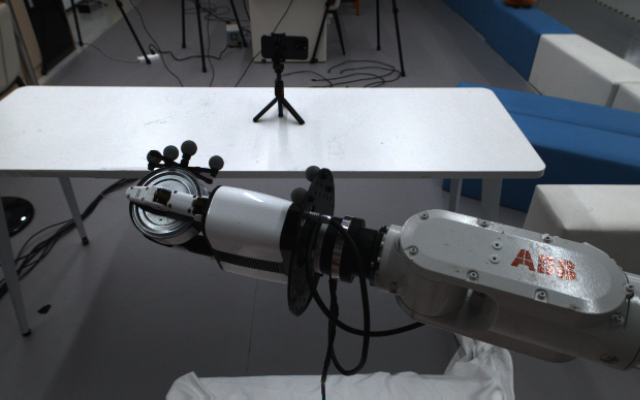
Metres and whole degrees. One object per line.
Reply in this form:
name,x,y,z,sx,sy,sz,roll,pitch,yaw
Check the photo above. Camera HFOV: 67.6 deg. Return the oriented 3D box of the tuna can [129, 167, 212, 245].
tuna can,-0.169,0.007,0.553,0.085,0.034,0.085,-3,68,8
